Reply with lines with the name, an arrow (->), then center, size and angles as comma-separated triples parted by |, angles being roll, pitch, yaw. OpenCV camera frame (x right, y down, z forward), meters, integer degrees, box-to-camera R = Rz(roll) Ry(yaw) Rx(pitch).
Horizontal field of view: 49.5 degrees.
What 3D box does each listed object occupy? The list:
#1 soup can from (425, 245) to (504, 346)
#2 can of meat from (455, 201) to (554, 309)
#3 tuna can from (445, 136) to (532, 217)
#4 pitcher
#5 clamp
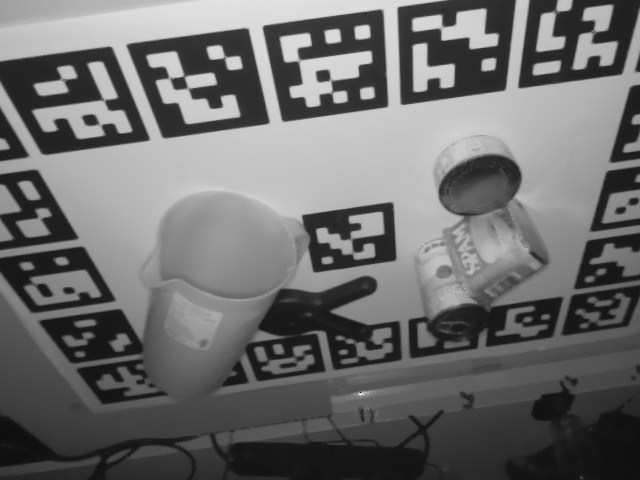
soup can -> 0.166, 0.064, 0.812 | 0.068, 0.102, 0.067 | -5, 133, -5
can of meat -> 0.206, 0.013, 0.761 | 0.083, 0.102, 0.058 | -37, 126, 22
tuna can -> 0.176, -0.066, 0.730 | 0.086, 0.034, 0.085 | -4, 133, -3
pitcher -> -0.105, 0.076, 0.761 | 0.192, 0.133, 0.239 | -10, 147, -29
clamp -> 0.014, 0.095, 0.882 | 0.165, 0.037, 0.121 | -4, 139, 1
